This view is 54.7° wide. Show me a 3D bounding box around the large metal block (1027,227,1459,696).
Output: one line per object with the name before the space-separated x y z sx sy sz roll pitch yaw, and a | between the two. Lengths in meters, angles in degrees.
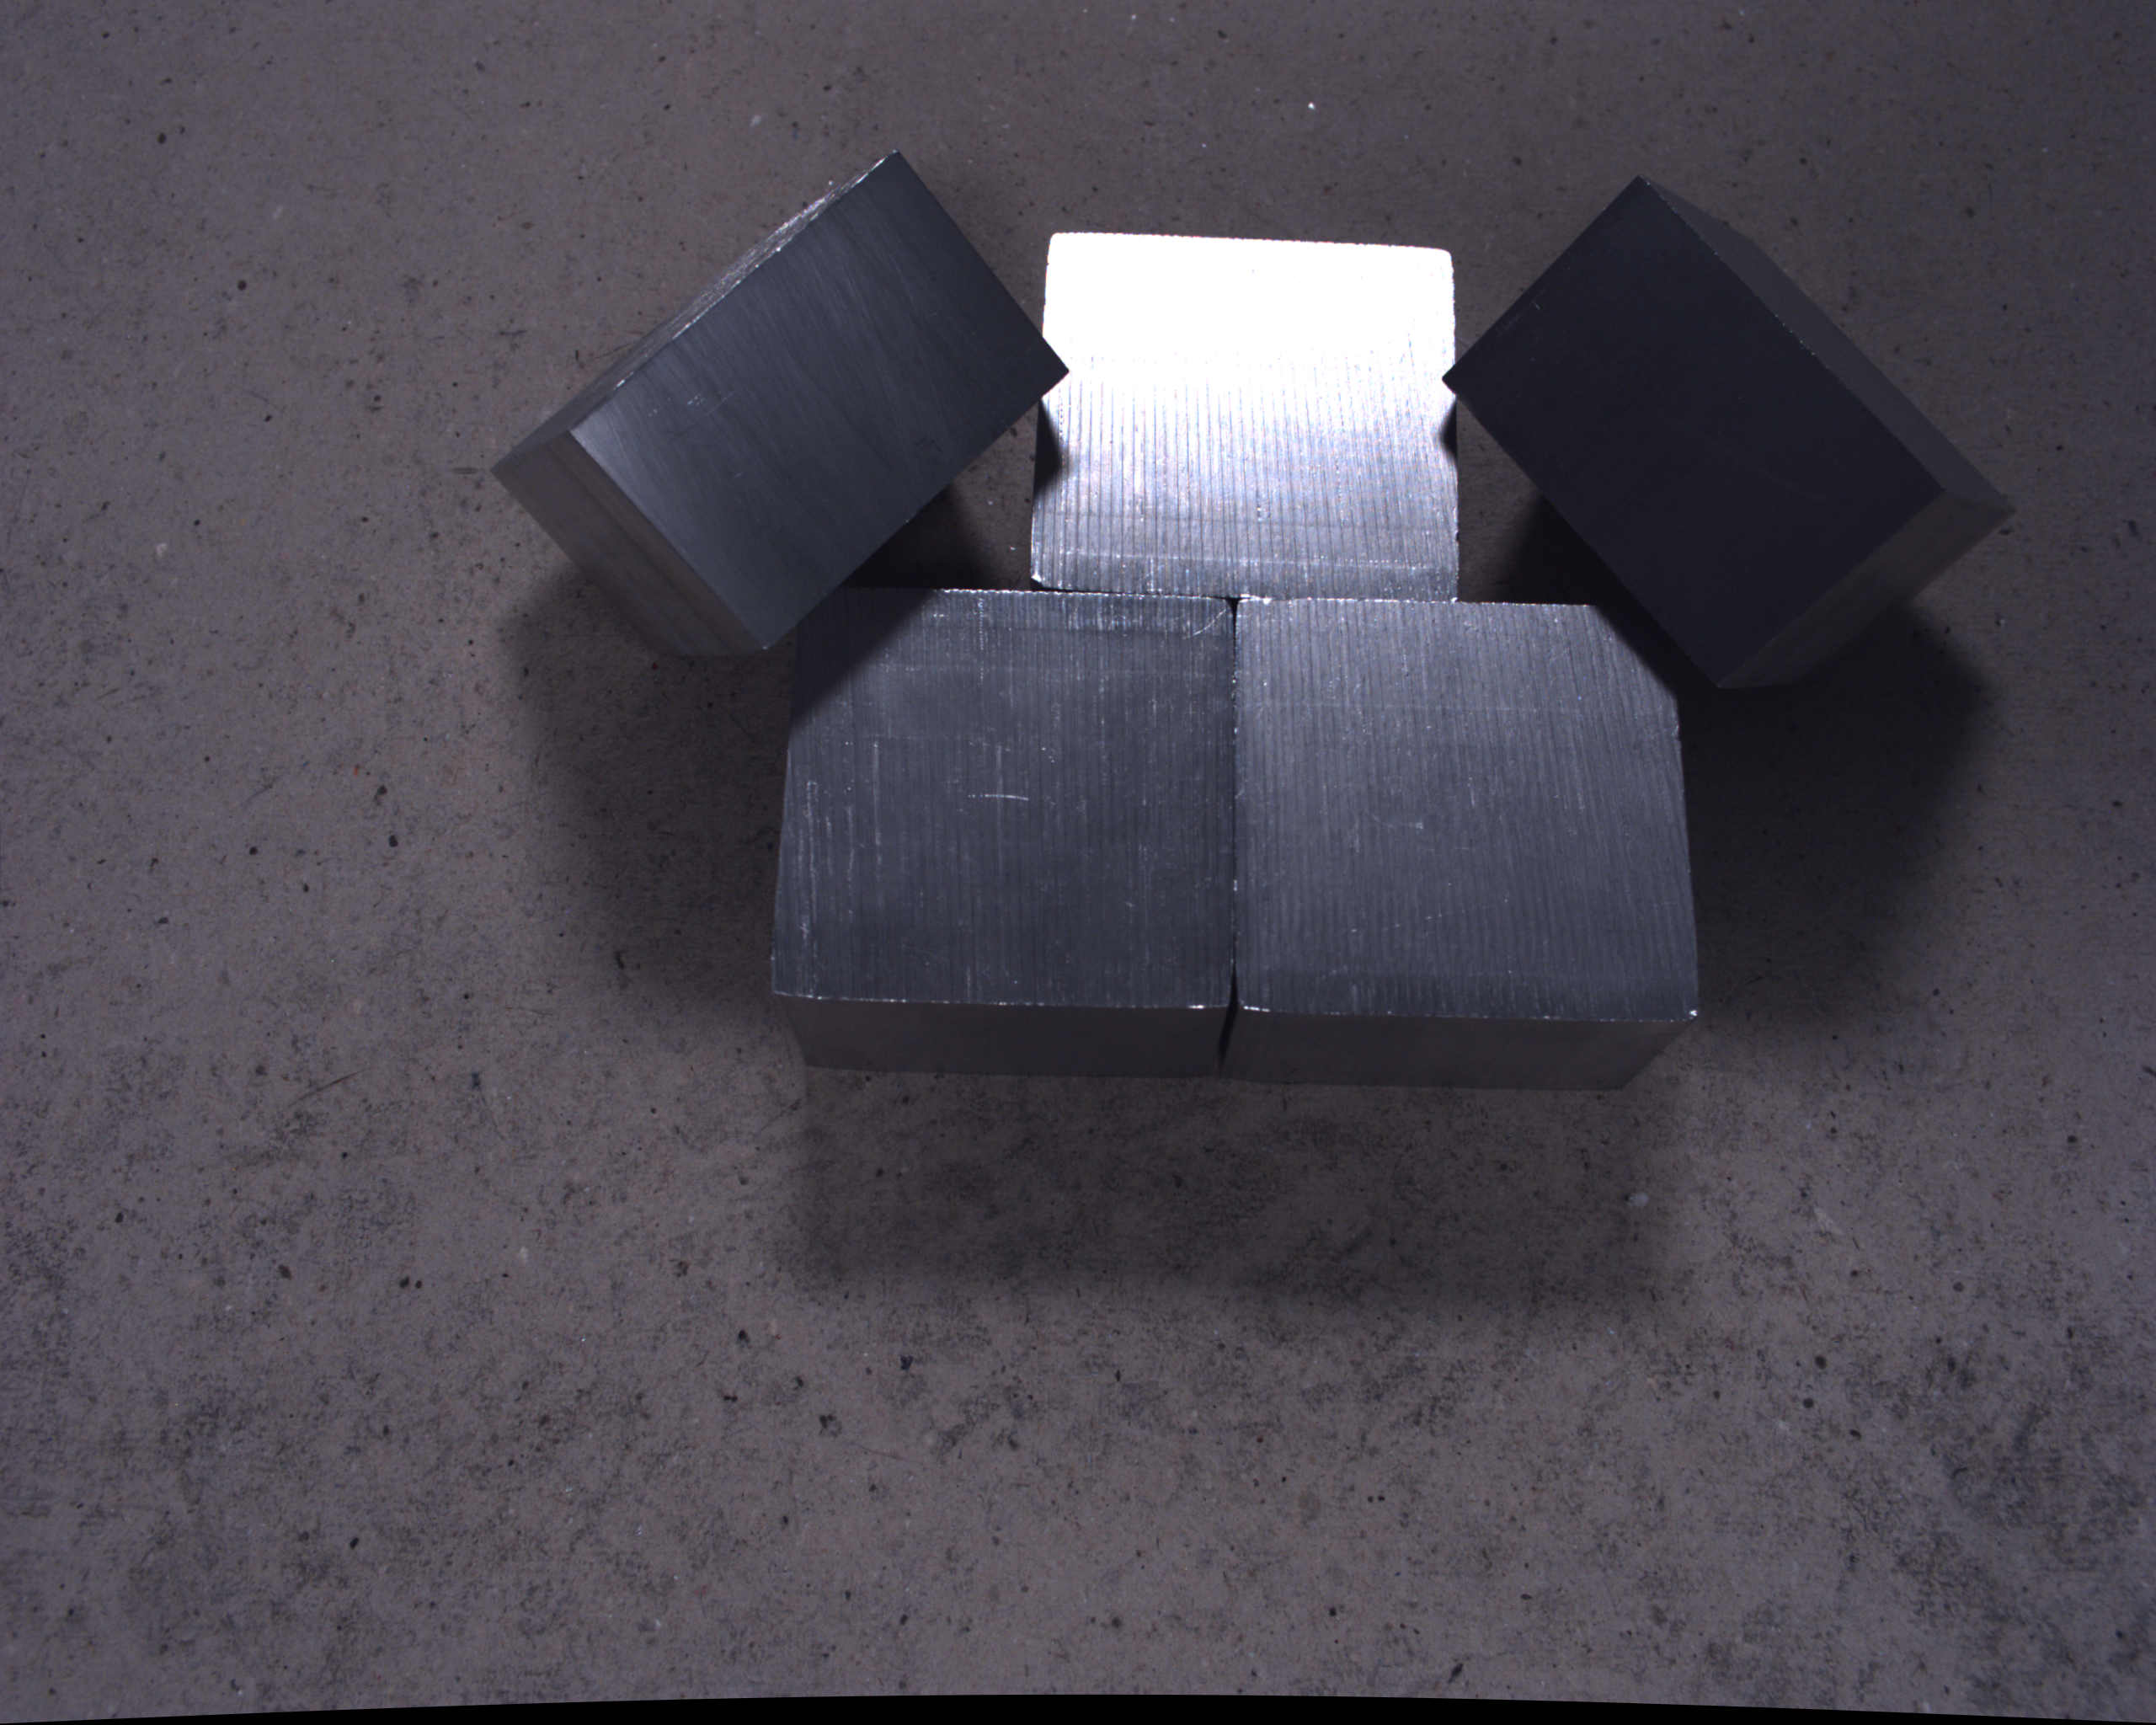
large metal block | 0.033 -0.079 0.426 0.081 0.050 0.080 3 70 0

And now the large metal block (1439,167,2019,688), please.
large metal block | 0.128 -0.081 0.405 0.050 0.080 0.080 -45 72 27

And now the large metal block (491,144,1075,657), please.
large metal block | -0.060 -0.085 0.403 0.080 0.080 0.050 -45 111 -15

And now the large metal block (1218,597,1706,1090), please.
large metal block | 0.069 -0.002 0.396 0.081 0.050 0.080 1 70 0

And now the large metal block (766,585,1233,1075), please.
large metal block | -0.013 -0.005 0.397 0.081 0.050 0.080 1 70 0
